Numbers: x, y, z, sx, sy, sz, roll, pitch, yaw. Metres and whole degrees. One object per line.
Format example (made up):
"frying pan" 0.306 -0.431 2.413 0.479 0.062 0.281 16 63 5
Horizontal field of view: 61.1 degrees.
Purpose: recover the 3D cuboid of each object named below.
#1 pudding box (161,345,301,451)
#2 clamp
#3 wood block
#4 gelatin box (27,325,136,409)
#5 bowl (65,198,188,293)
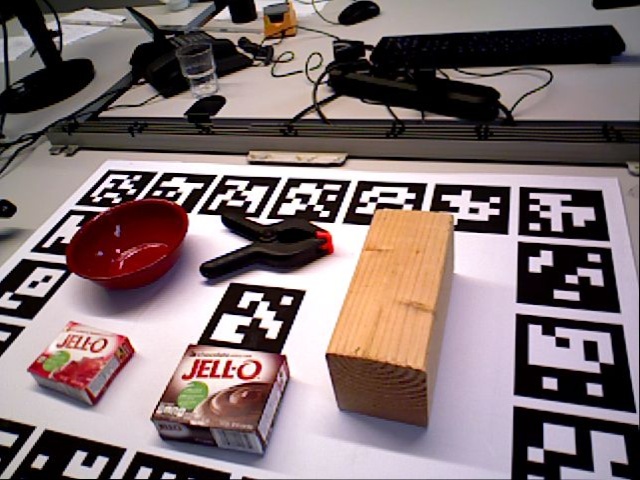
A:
"pudding box" -0.083 0.150 0.526 0.114 0.039 0.088 1 47 18
"clamp" -0.077 0.005 0.700 0.165 0.037 0.119 -3 42 7
"wood block" 0.092 0.061 0.540 0.090 0.093 0.201 6 44 17
"gelatin box" -0.259 0.135 0.590 0.090 0.031 0.071 9 47 22
"bowl" -0.243 0.017 0.711 0.161 0.056 0.159 -7 44 6
